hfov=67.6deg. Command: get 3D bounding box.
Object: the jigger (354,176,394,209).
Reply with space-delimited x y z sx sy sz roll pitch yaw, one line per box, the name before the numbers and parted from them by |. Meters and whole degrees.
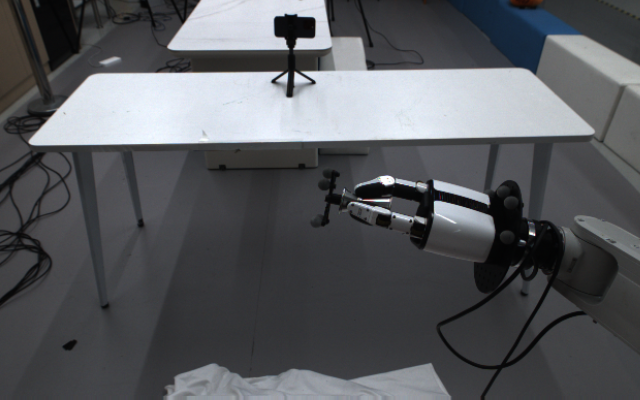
jigger | 0.070 0.005 0.675 0.071 0.043 0.043 12 36 5
